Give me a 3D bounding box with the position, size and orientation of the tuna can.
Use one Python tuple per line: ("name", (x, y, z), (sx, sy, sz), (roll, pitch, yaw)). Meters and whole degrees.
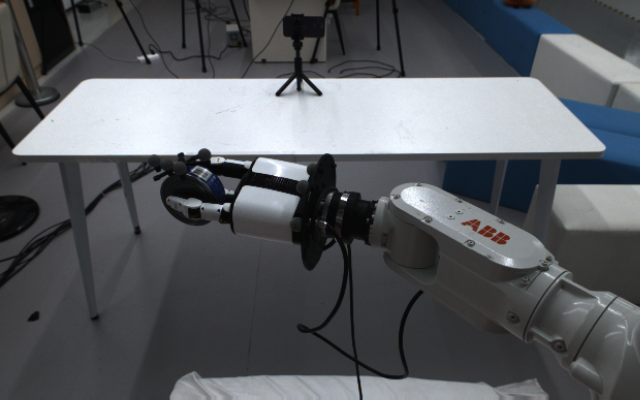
("tuna can", (-0.174, -0.005, 0.687), (0.085, 0.085, 0.034), (9, 32, 10))
